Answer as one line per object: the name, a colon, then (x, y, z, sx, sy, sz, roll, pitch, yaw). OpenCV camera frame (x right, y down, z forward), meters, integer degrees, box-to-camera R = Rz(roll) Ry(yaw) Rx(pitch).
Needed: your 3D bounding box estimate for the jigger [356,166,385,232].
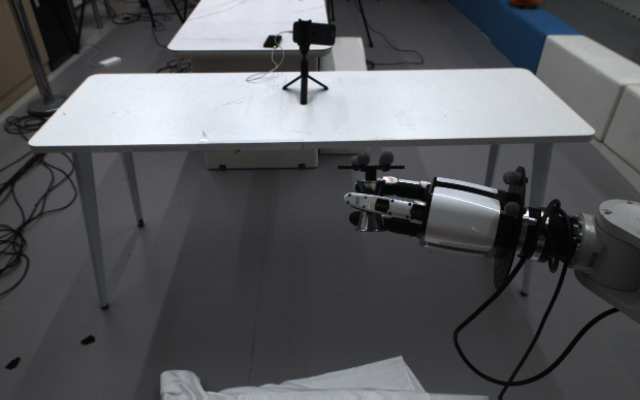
jigger: (0.069, 0.006, 0.658, 0.043, 0.071, 0.043, -1, 2, 0)
